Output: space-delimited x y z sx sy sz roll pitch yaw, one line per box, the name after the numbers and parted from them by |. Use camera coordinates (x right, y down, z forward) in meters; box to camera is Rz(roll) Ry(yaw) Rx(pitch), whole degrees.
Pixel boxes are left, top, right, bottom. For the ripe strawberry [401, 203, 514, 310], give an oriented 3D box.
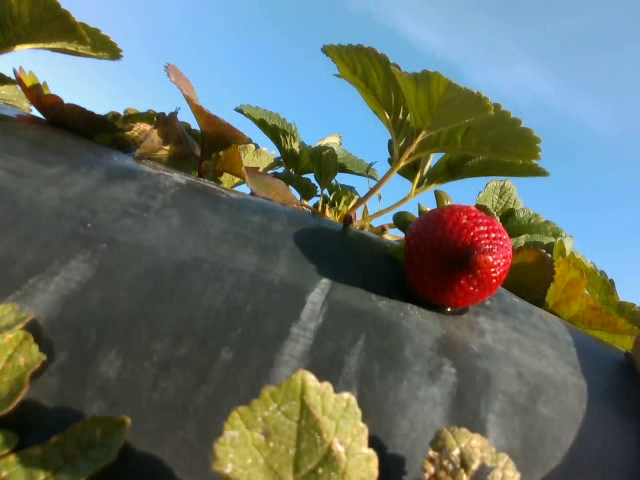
0.045 0.005 0.191 0.040 0.036 0.044 20 8 -15 | ripe strawberry
